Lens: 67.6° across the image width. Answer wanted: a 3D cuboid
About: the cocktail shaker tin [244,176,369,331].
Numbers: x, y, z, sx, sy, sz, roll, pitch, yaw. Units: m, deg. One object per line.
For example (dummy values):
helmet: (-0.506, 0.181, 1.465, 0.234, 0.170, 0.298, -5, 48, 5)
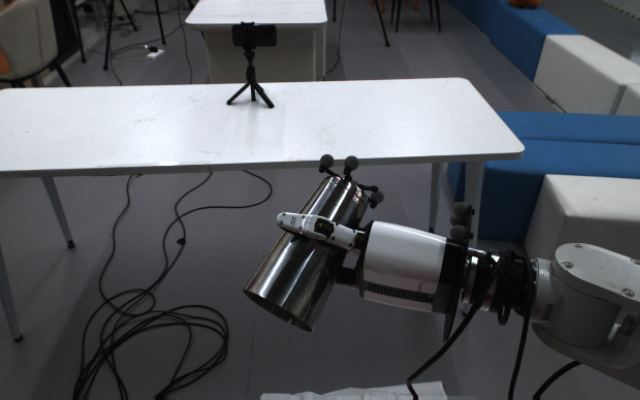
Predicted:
cocktail shaker tin: (-0.006, 0.055, 0.574, 0.093, 0.093, 0.170, 20, 66, 24)
